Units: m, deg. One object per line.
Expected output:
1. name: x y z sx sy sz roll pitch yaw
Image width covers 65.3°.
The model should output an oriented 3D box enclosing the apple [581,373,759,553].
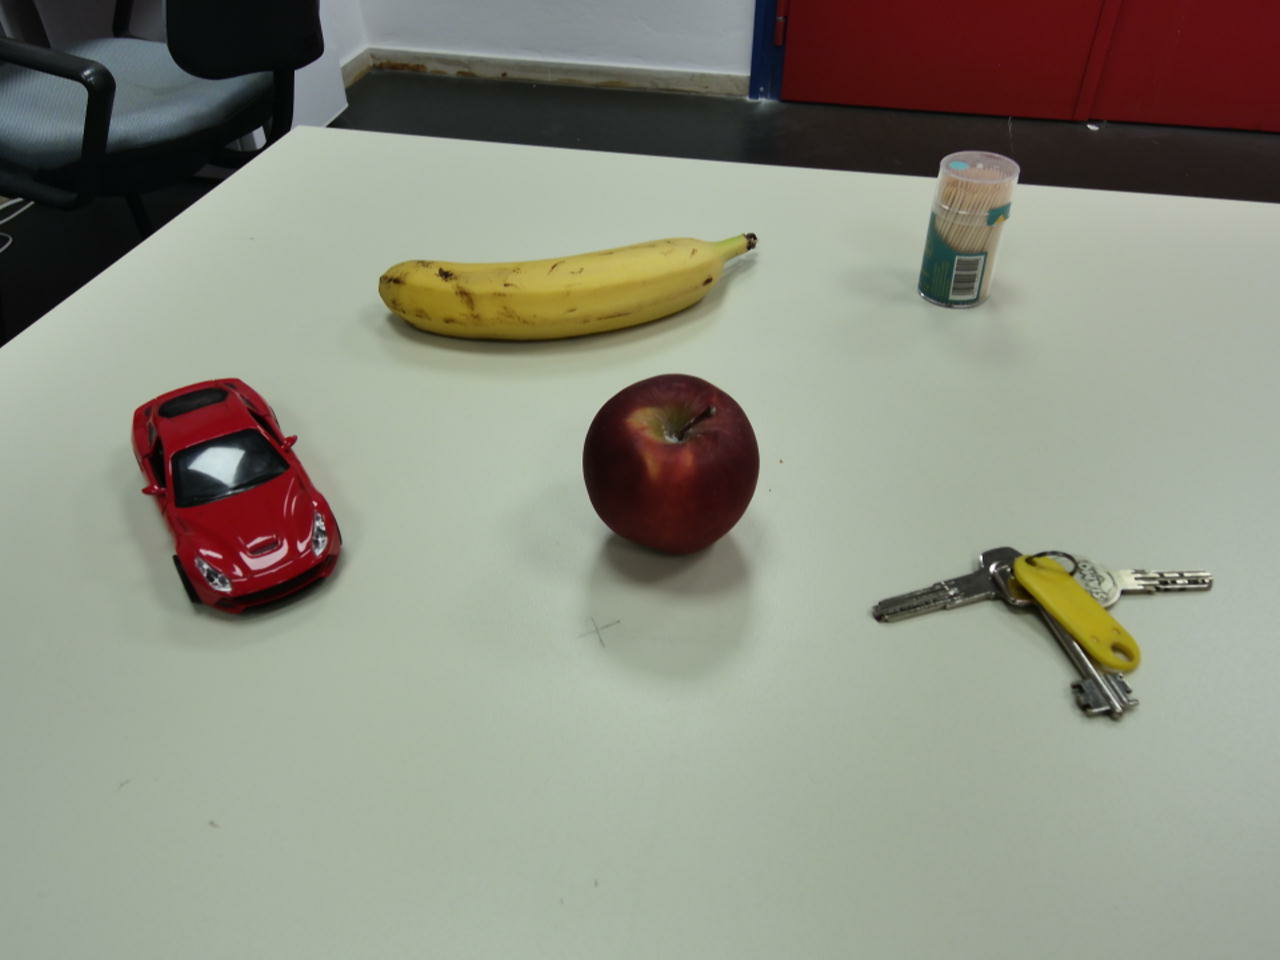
1. apple: 0.012 -0.005 0.390 0.070 0.072 0.070 1 38 -1
